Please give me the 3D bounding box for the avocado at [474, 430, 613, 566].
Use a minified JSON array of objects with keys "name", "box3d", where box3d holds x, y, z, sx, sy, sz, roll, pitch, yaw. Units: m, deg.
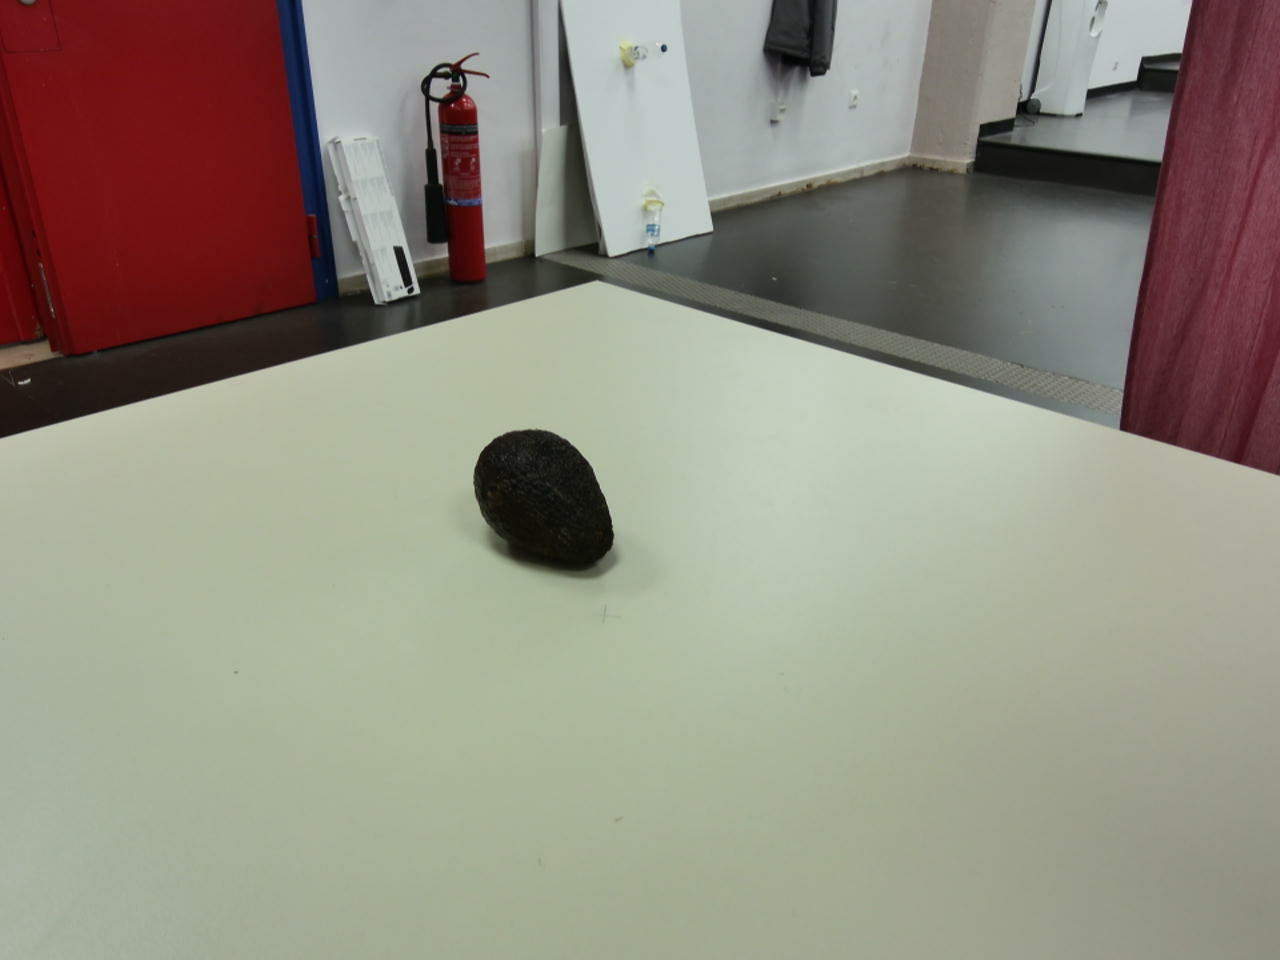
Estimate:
[{"name":"avocado","box3d":[-0.057,0.008,0.577,0.070,0.069,0.090,-9,27,-21]}]
